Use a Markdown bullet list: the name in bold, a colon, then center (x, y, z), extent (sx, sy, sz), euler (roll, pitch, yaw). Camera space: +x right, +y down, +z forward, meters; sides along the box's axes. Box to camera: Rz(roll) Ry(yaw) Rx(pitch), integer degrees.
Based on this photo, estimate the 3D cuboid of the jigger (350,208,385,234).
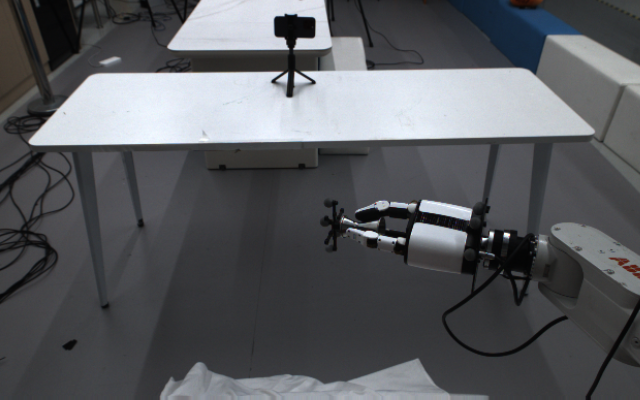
- **jigger**: center (0.078, 0.044, 0.813), extent (0.071, 0.043, 0.043), euler (4, 33, 23)
